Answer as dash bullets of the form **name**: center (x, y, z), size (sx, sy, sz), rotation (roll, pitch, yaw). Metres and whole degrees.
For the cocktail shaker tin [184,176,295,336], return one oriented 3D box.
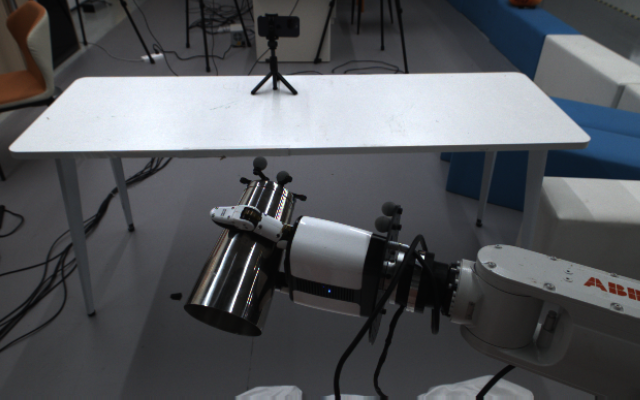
- **cocktail shaker tin**: center (-0.084, 0.064, 0.573), size (0.093, 0.093, 0.170), rotation (11, 60, 12)
